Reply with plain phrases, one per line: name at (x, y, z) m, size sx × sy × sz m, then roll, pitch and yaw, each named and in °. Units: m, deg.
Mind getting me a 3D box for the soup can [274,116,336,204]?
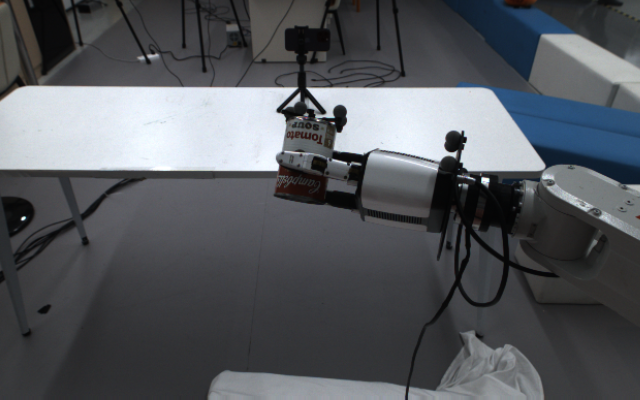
soup can at (-0.018, -0.050, 0.627) m, size 0.067 × 0.101 × 0.067 m, roll 9°, pitch -5°, yaw 1°
